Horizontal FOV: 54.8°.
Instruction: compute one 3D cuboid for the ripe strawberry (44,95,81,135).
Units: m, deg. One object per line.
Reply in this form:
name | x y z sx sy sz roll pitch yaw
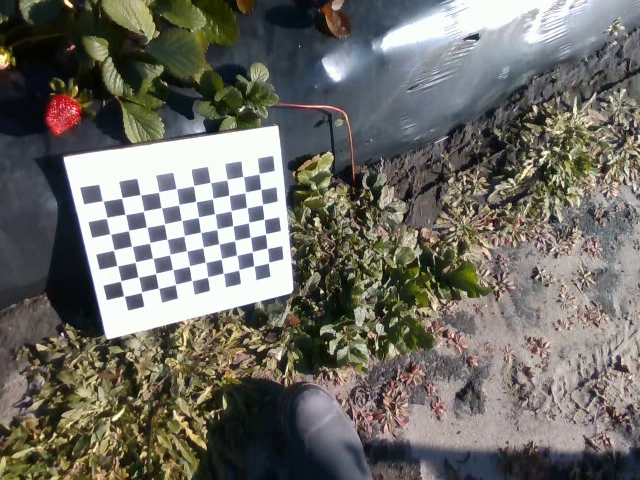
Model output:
ripe strawberry | -0.326 -0.159 0.753 0.065 0.062 0.058 33 -60 -30
